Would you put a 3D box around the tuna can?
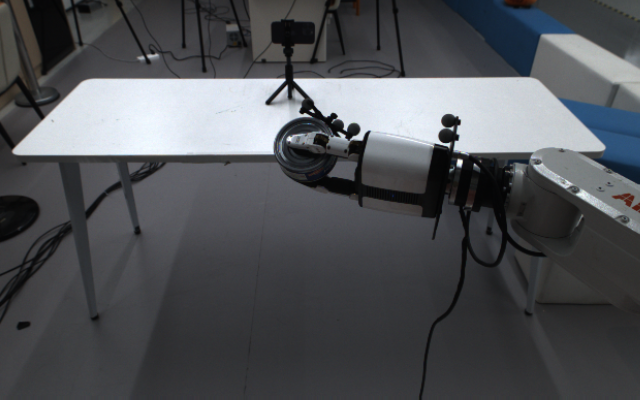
[{"bbox_3d":[-0.018,-0.071,0.661,0.085,0.034,0.085,-4,69,10],"label":"tuna can"}]
